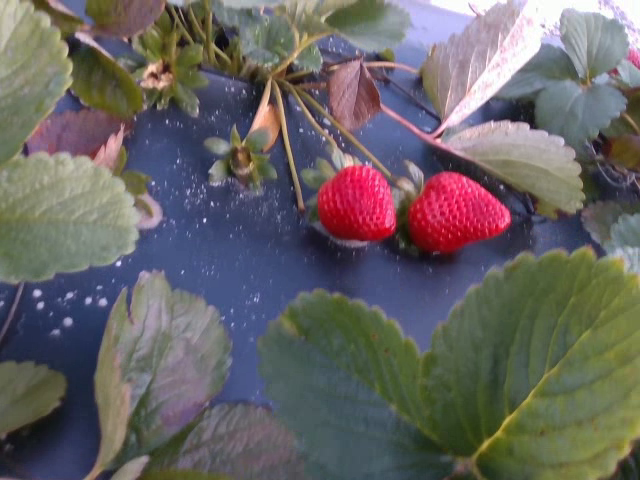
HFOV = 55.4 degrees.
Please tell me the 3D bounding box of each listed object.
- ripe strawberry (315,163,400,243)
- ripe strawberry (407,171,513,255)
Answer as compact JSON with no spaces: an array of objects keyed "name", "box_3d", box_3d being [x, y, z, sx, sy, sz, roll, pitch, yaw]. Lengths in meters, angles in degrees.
[{"name":"ripe strawberry","box_3d":[0.025,-0.018,0.344,0.048,0.041,0.056,-6,39,-26]},{"name":"ripe strawberry","box_3d":[0.084,-0.019,0.362,0.064,0.051,0.057,19,45,30]}]
